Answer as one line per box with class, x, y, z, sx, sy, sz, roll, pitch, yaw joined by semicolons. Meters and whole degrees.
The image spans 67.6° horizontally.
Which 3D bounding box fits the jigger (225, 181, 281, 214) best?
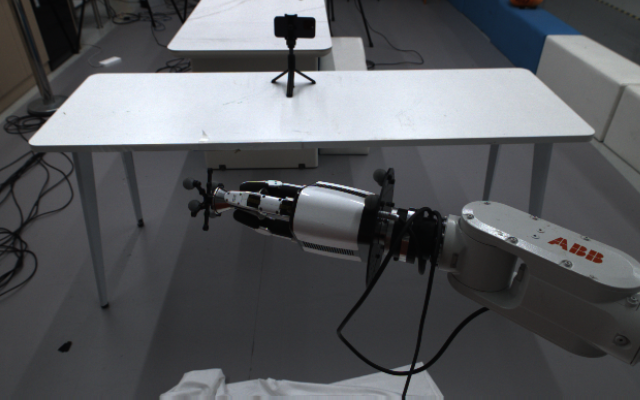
jigger;-0.102;-0.002;0.672;0.071;0.043;0.043;3;34;15
